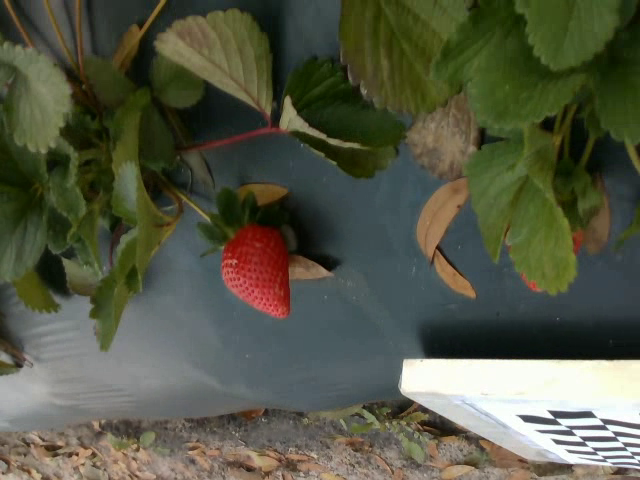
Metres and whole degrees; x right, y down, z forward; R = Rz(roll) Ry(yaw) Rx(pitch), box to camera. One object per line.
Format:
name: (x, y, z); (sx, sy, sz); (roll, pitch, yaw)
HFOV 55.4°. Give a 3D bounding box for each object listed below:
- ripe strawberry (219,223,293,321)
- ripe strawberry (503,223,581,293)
ripe strawberry: (-0.030, 0.023, 0.350); (0.042, 0.065, 0.046); (-40, -34, 6)
ripe strawberry: (0.104, 0.008, 0.276); (0.040, 0.042, 0.037); (-3, 16, 21)
